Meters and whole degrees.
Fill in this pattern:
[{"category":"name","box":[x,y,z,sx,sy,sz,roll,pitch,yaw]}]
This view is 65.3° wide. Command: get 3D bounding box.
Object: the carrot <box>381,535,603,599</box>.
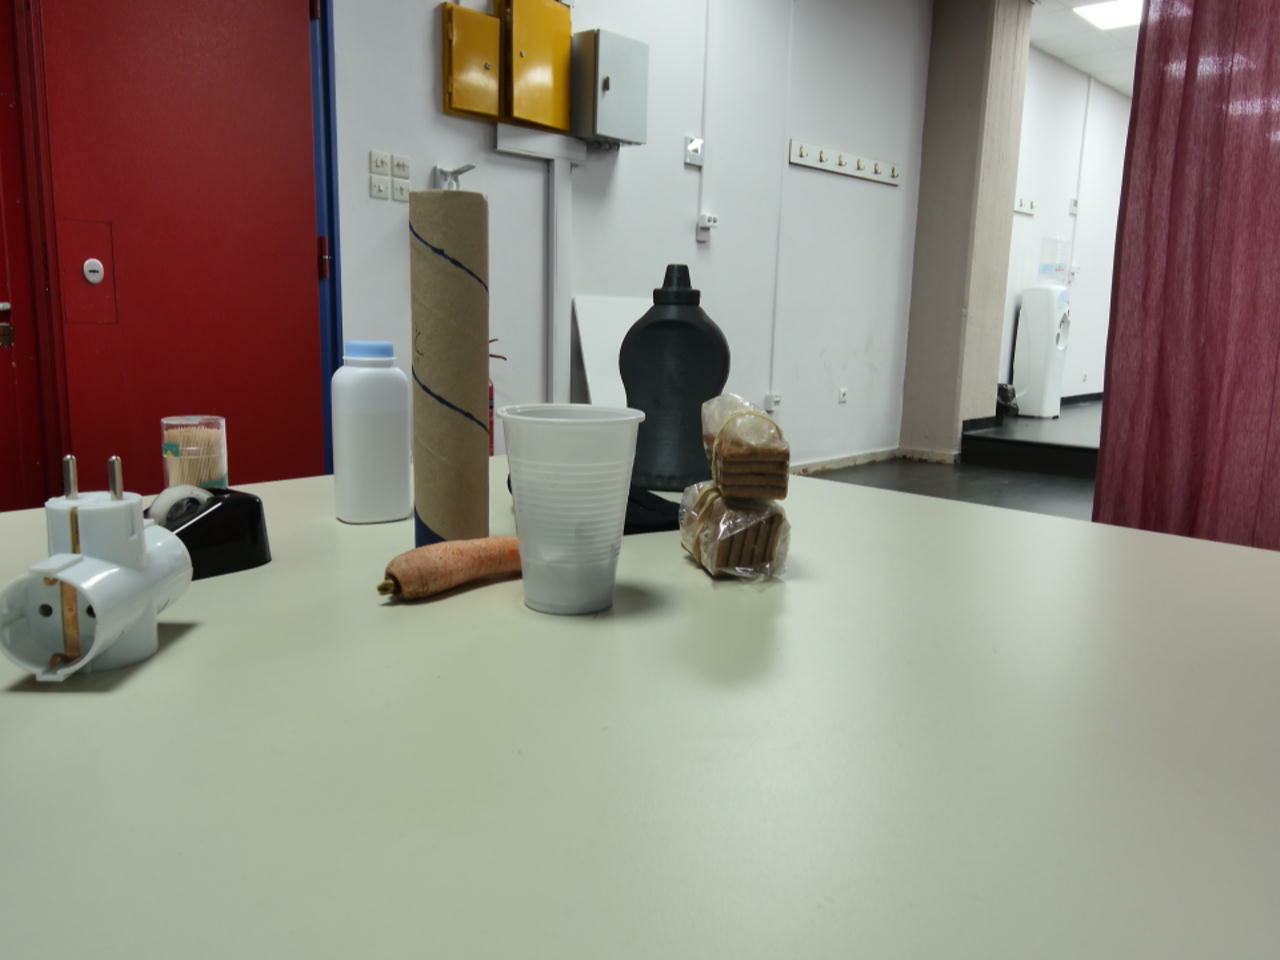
[{"category":"carrot","box":[-0.083,0.046,0.604,0.031,0.029,0.163,8,11,43]}]
